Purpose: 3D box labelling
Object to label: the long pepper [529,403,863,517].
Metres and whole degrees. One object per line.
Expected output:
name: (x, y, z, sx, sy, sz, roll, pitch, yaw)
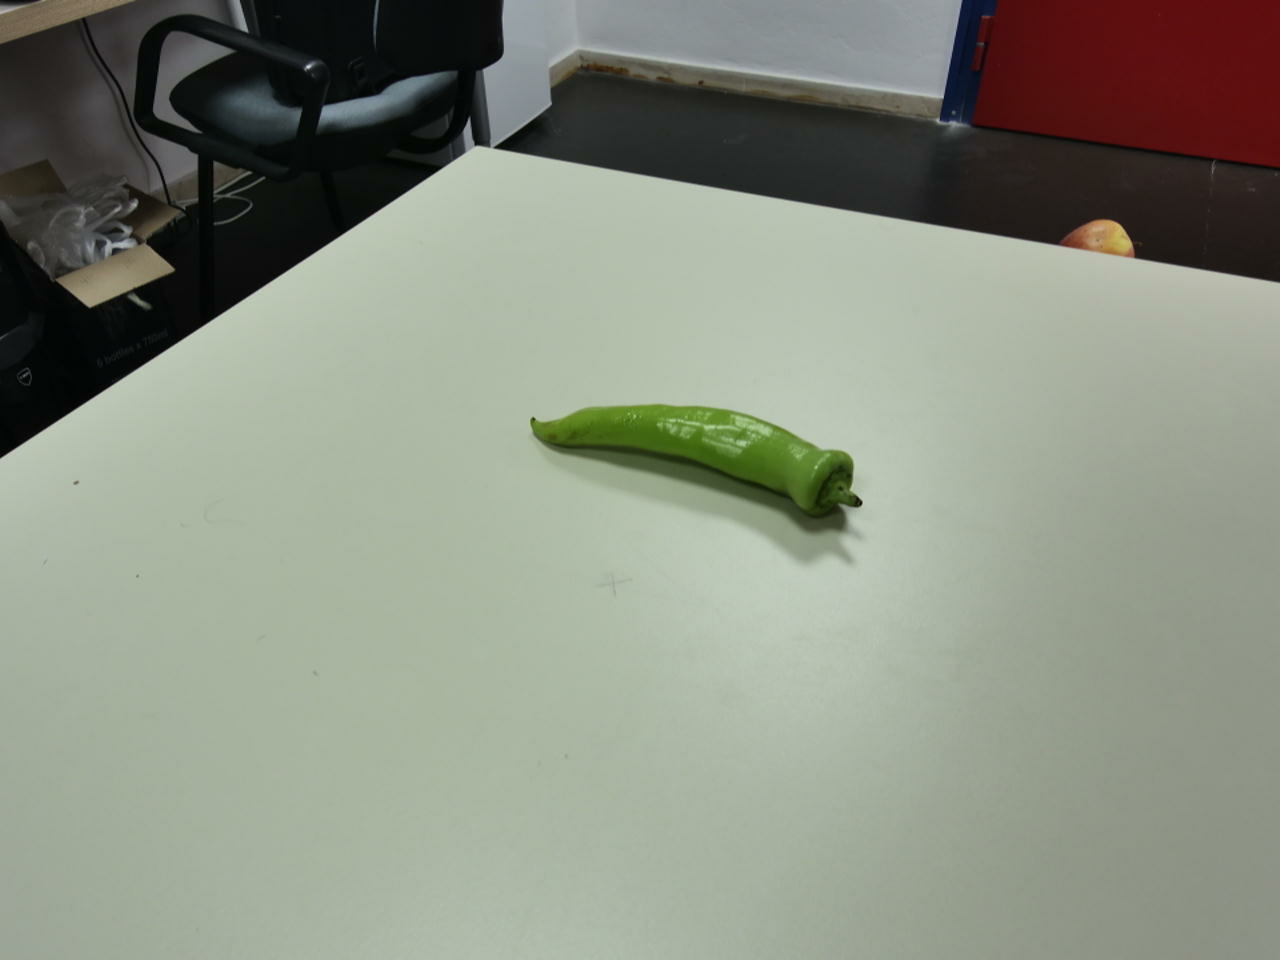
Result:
long pepper: (0.029, -0.021, 0.536, 0.197, 0.038, 0.046, 18, 42, 22)
